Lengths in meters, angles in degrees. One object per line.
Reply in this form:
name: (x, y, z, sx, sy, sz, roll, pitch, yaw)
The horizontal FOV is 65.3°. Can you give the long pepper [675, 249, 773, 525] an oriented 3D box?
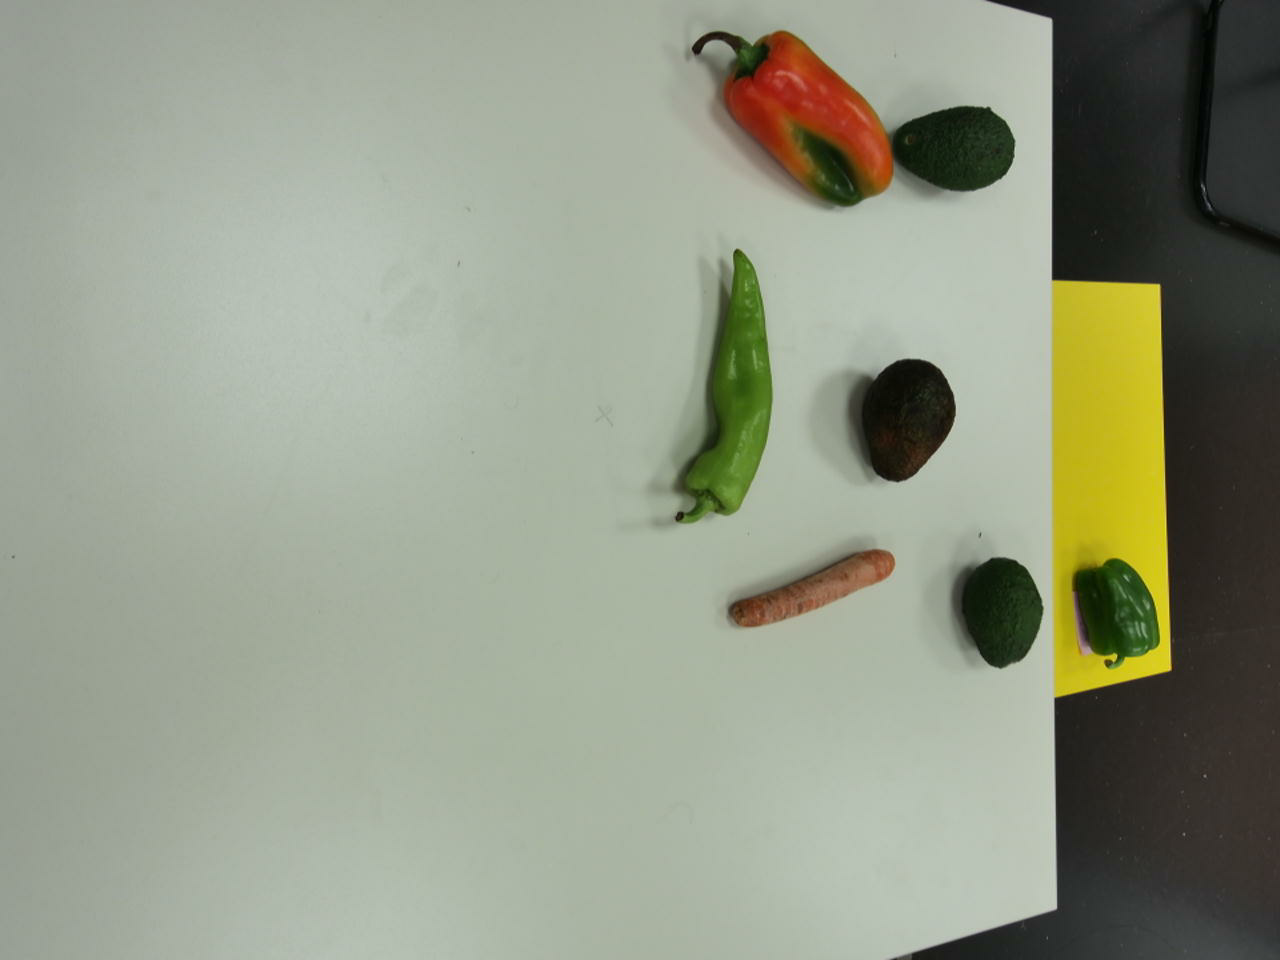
long pepper: (0.070, -0.061, 0.729, 0.065, 0.045, 0.204, 18, 82, -27)
